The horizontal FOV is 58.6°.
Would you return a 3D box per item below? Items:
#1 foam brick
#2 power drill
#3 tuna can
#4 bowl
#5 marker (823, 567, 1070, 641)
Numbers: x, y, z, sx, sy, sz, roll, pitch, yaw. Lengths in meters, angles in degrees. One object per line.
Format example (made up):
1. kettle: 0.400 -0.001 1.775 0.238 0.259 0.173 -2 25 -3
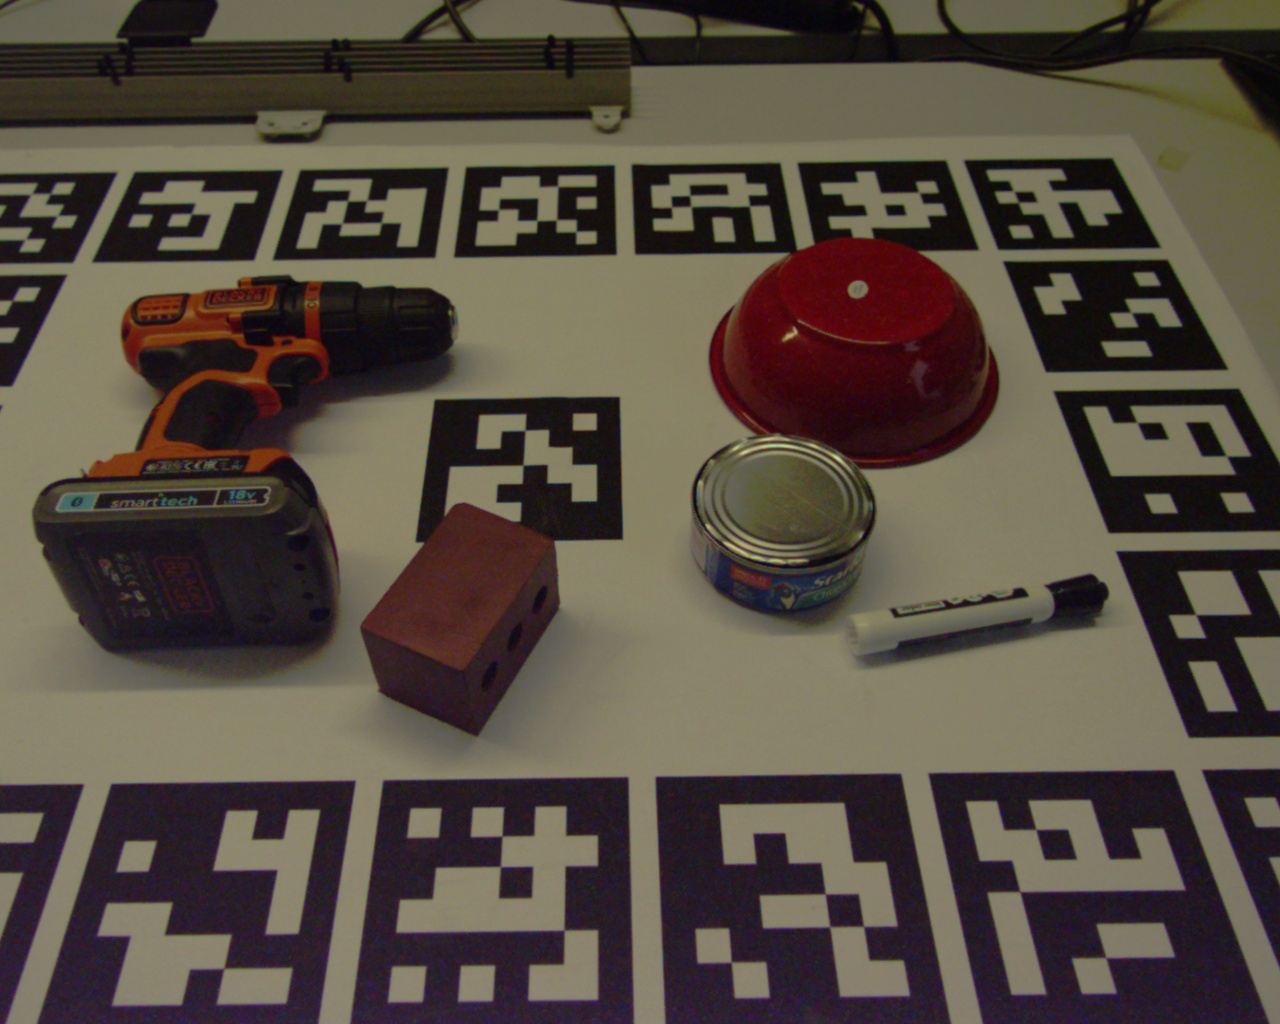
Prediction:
1. foam brick: -0.081 0.049 0.529 0.052 0.052 0.078 18 53 13
2. power drill: -0.201 -0.038 0.598 0.184 0.057 0.188 0 47 -5
3. tuna can: 0.061 0.001 0.573 0.085 0.033 0.086 1 49 -2
4. bowl: 0.105 -0.098 0.659 0.162 0.055 0.162 -3 43 1
5. marker: 0.148 0.043 0.545 0.120 0.019 0.020 -8 51 -8
